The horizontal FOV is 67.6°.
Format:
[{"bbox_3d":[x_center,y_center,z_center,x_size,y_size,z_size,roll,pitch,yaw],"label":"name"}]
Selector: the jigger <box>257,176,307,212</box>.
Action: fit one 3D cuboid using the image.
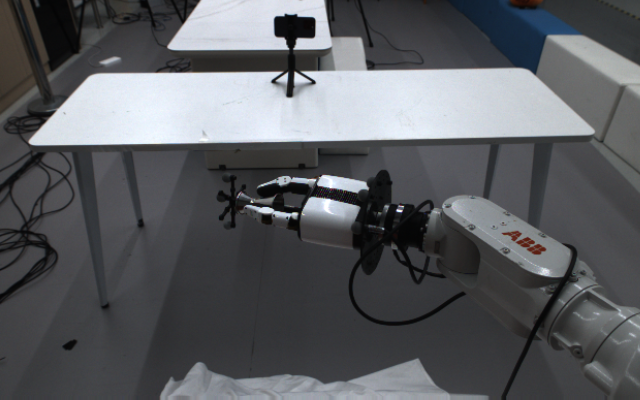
[{"bbox_3d":[-0.092,0.005,0.788,0.071,0.043,0.043,5,34,21],"label":"jigger"}]
